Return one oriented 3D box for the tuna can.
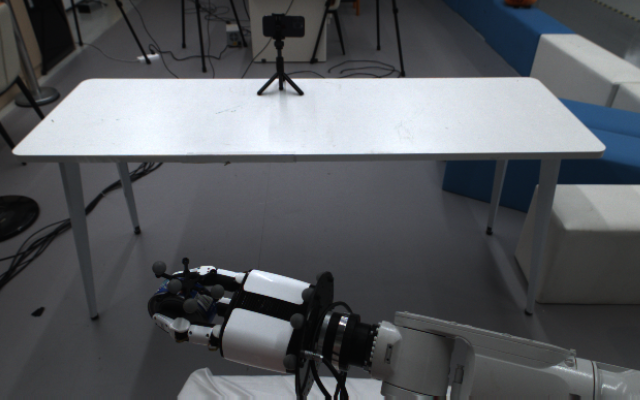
[{"bbox_3d":[-0.180,0.146,0.644,0.085,0.085,0.034,9,35,10],"label":"tuna can"}]
